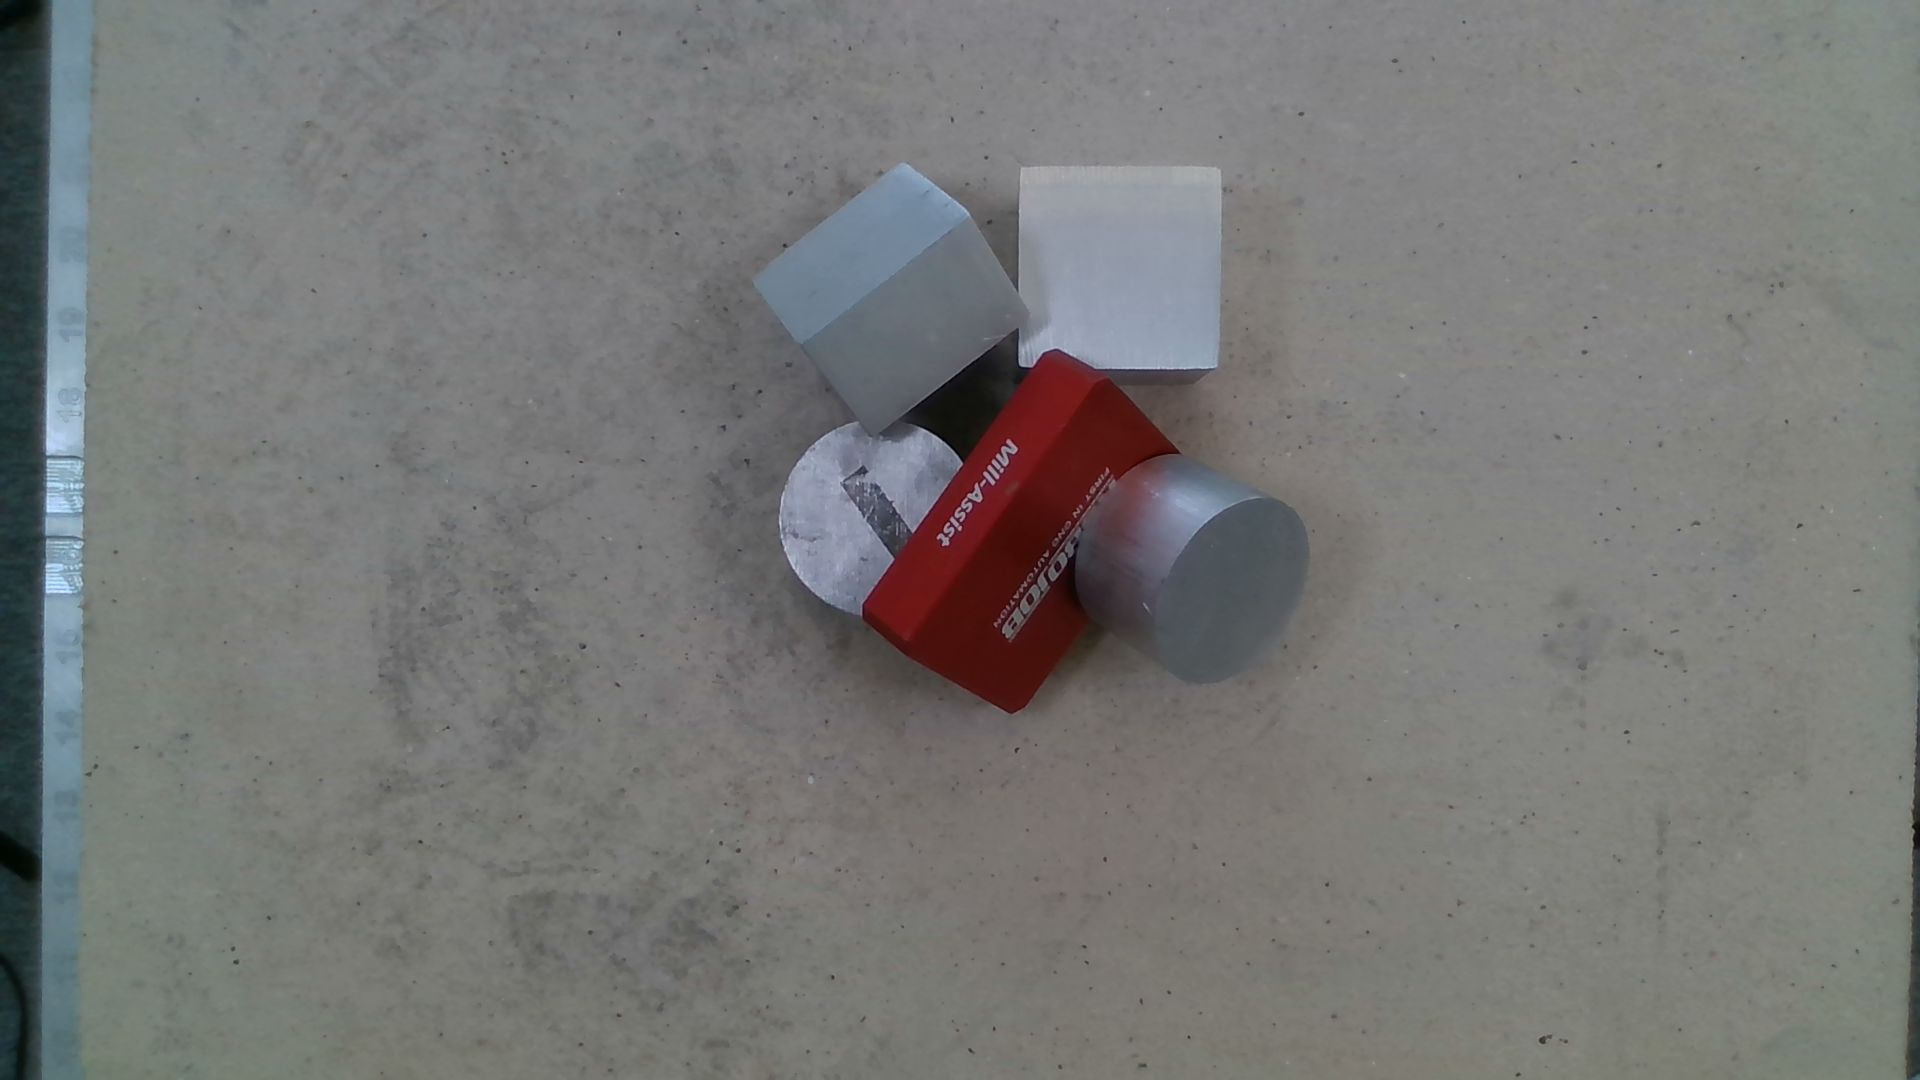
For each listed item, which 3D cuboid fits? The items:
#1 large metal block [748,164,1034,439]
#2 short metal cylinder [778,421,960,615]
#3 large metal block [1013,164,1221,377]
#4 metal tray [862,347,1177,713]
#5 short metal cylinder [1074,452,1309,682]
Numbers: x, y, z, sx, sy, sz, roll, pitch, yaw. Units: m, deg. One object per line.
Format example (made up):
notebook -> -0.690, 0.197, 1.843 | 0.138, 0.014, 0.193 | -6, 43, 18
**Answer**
large metal block -> -0.030, -0.098, 0.552 | 0.080, 0.080, 0.050 | -37, 126, 0
short metal cylinder -> -0.033, -0.009, 0.576 | 0.080, 0.050, 0.080 | 0, 90, 0
large metal block -> 0.063, -0.109, 0.572 | 0.080, 0.050, 0.080 | 1, 90, 0
metal tray -> 0.029, -0.001, 0.556 | 0.030, 0.090, 0.130 | 36, 90, 40
short metal cylinder -> 0.093, 0.010, 0.556 | 0.080, 0.050, 0.080 | -16, 121, -28
